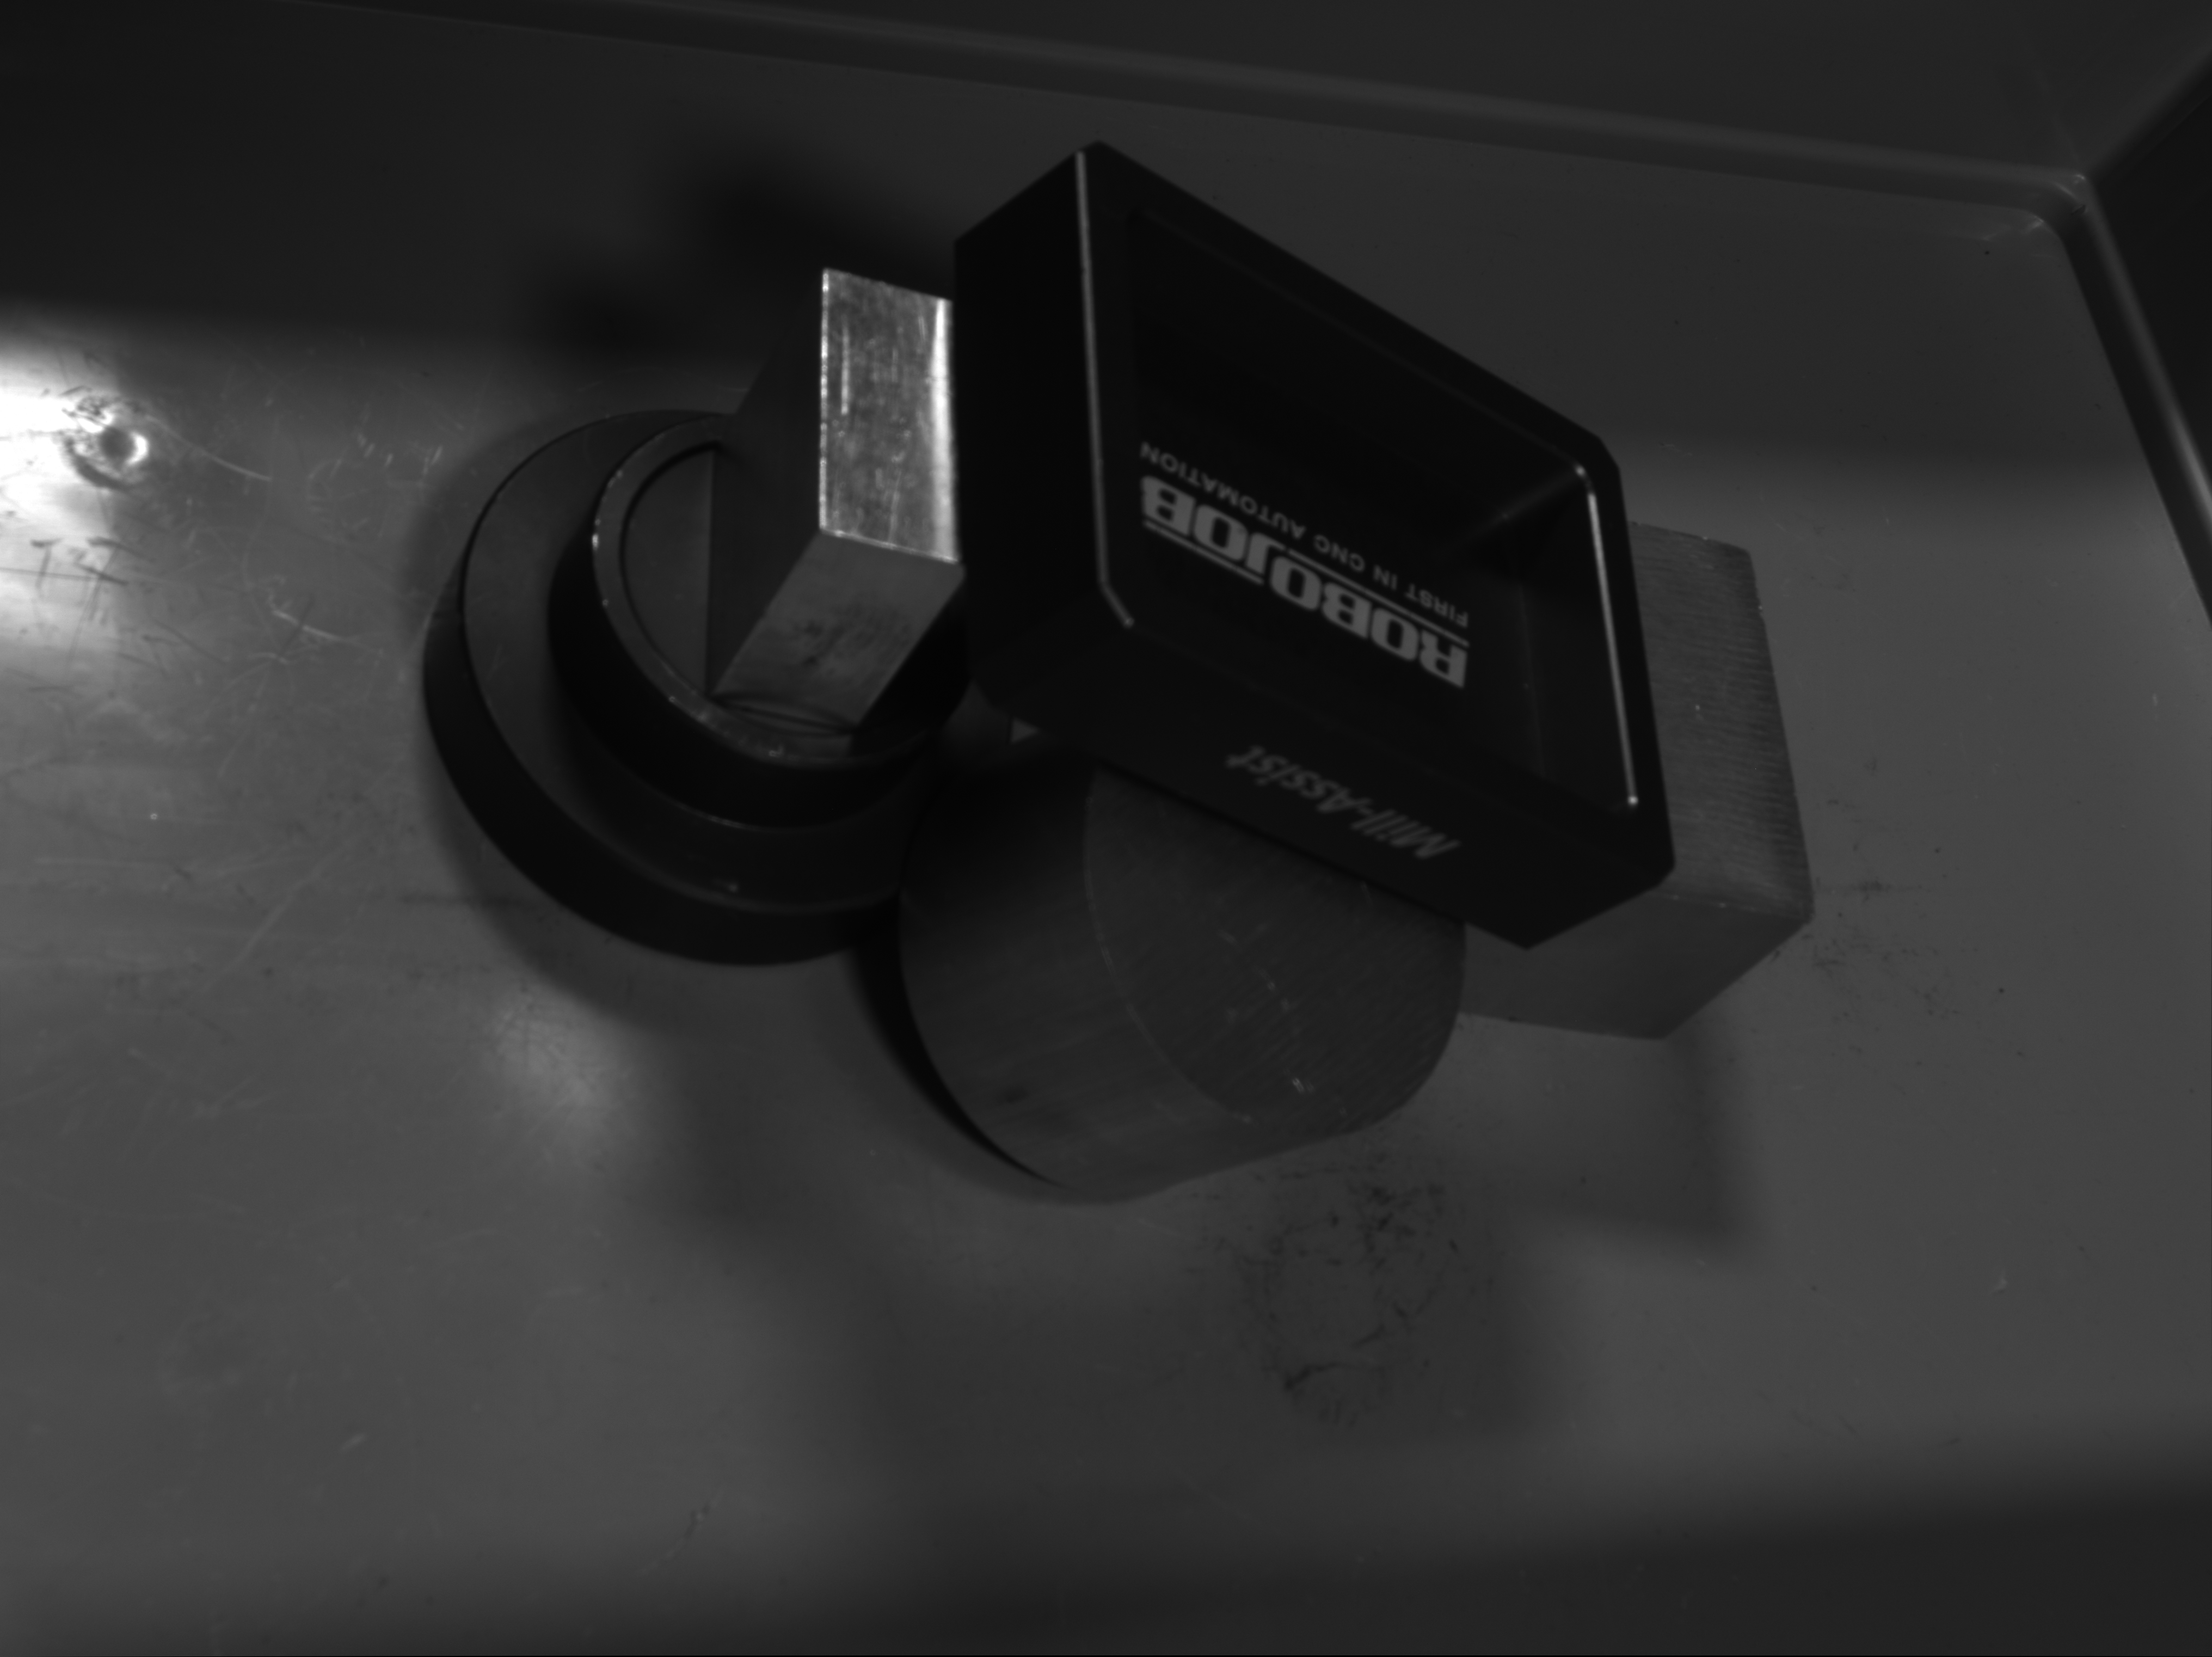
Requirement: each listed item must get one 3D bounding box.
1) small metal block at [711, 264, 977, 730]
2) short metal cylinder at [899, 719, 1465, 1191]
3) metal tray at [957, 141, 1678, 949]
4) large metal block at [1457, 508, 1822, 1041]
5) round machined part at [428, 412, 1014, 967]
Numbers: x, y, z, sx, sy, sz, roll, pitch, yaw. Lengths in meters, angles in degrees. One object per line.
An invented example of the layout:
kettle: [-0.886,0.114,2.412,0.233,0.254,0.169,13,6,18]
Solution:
small metal block: [-0.041,-0.052,0.577,0.025,0.050,0.050,12,57,-22]
short metal cylinder: [0.013,0.016,0.605,0.080,0.050,0.080,15,66,-36]
metal tray: [0.035,-0.043,0.590,0.130,0.030,0.090,24,51,-38]
large metal block: [0.077,-0.013,0.670,0.080,0.050,0.080,10,57,-23]
round machined part: [-0.060,-0.030,0.613,0.098,0.042,0.098,14,56,-21]
